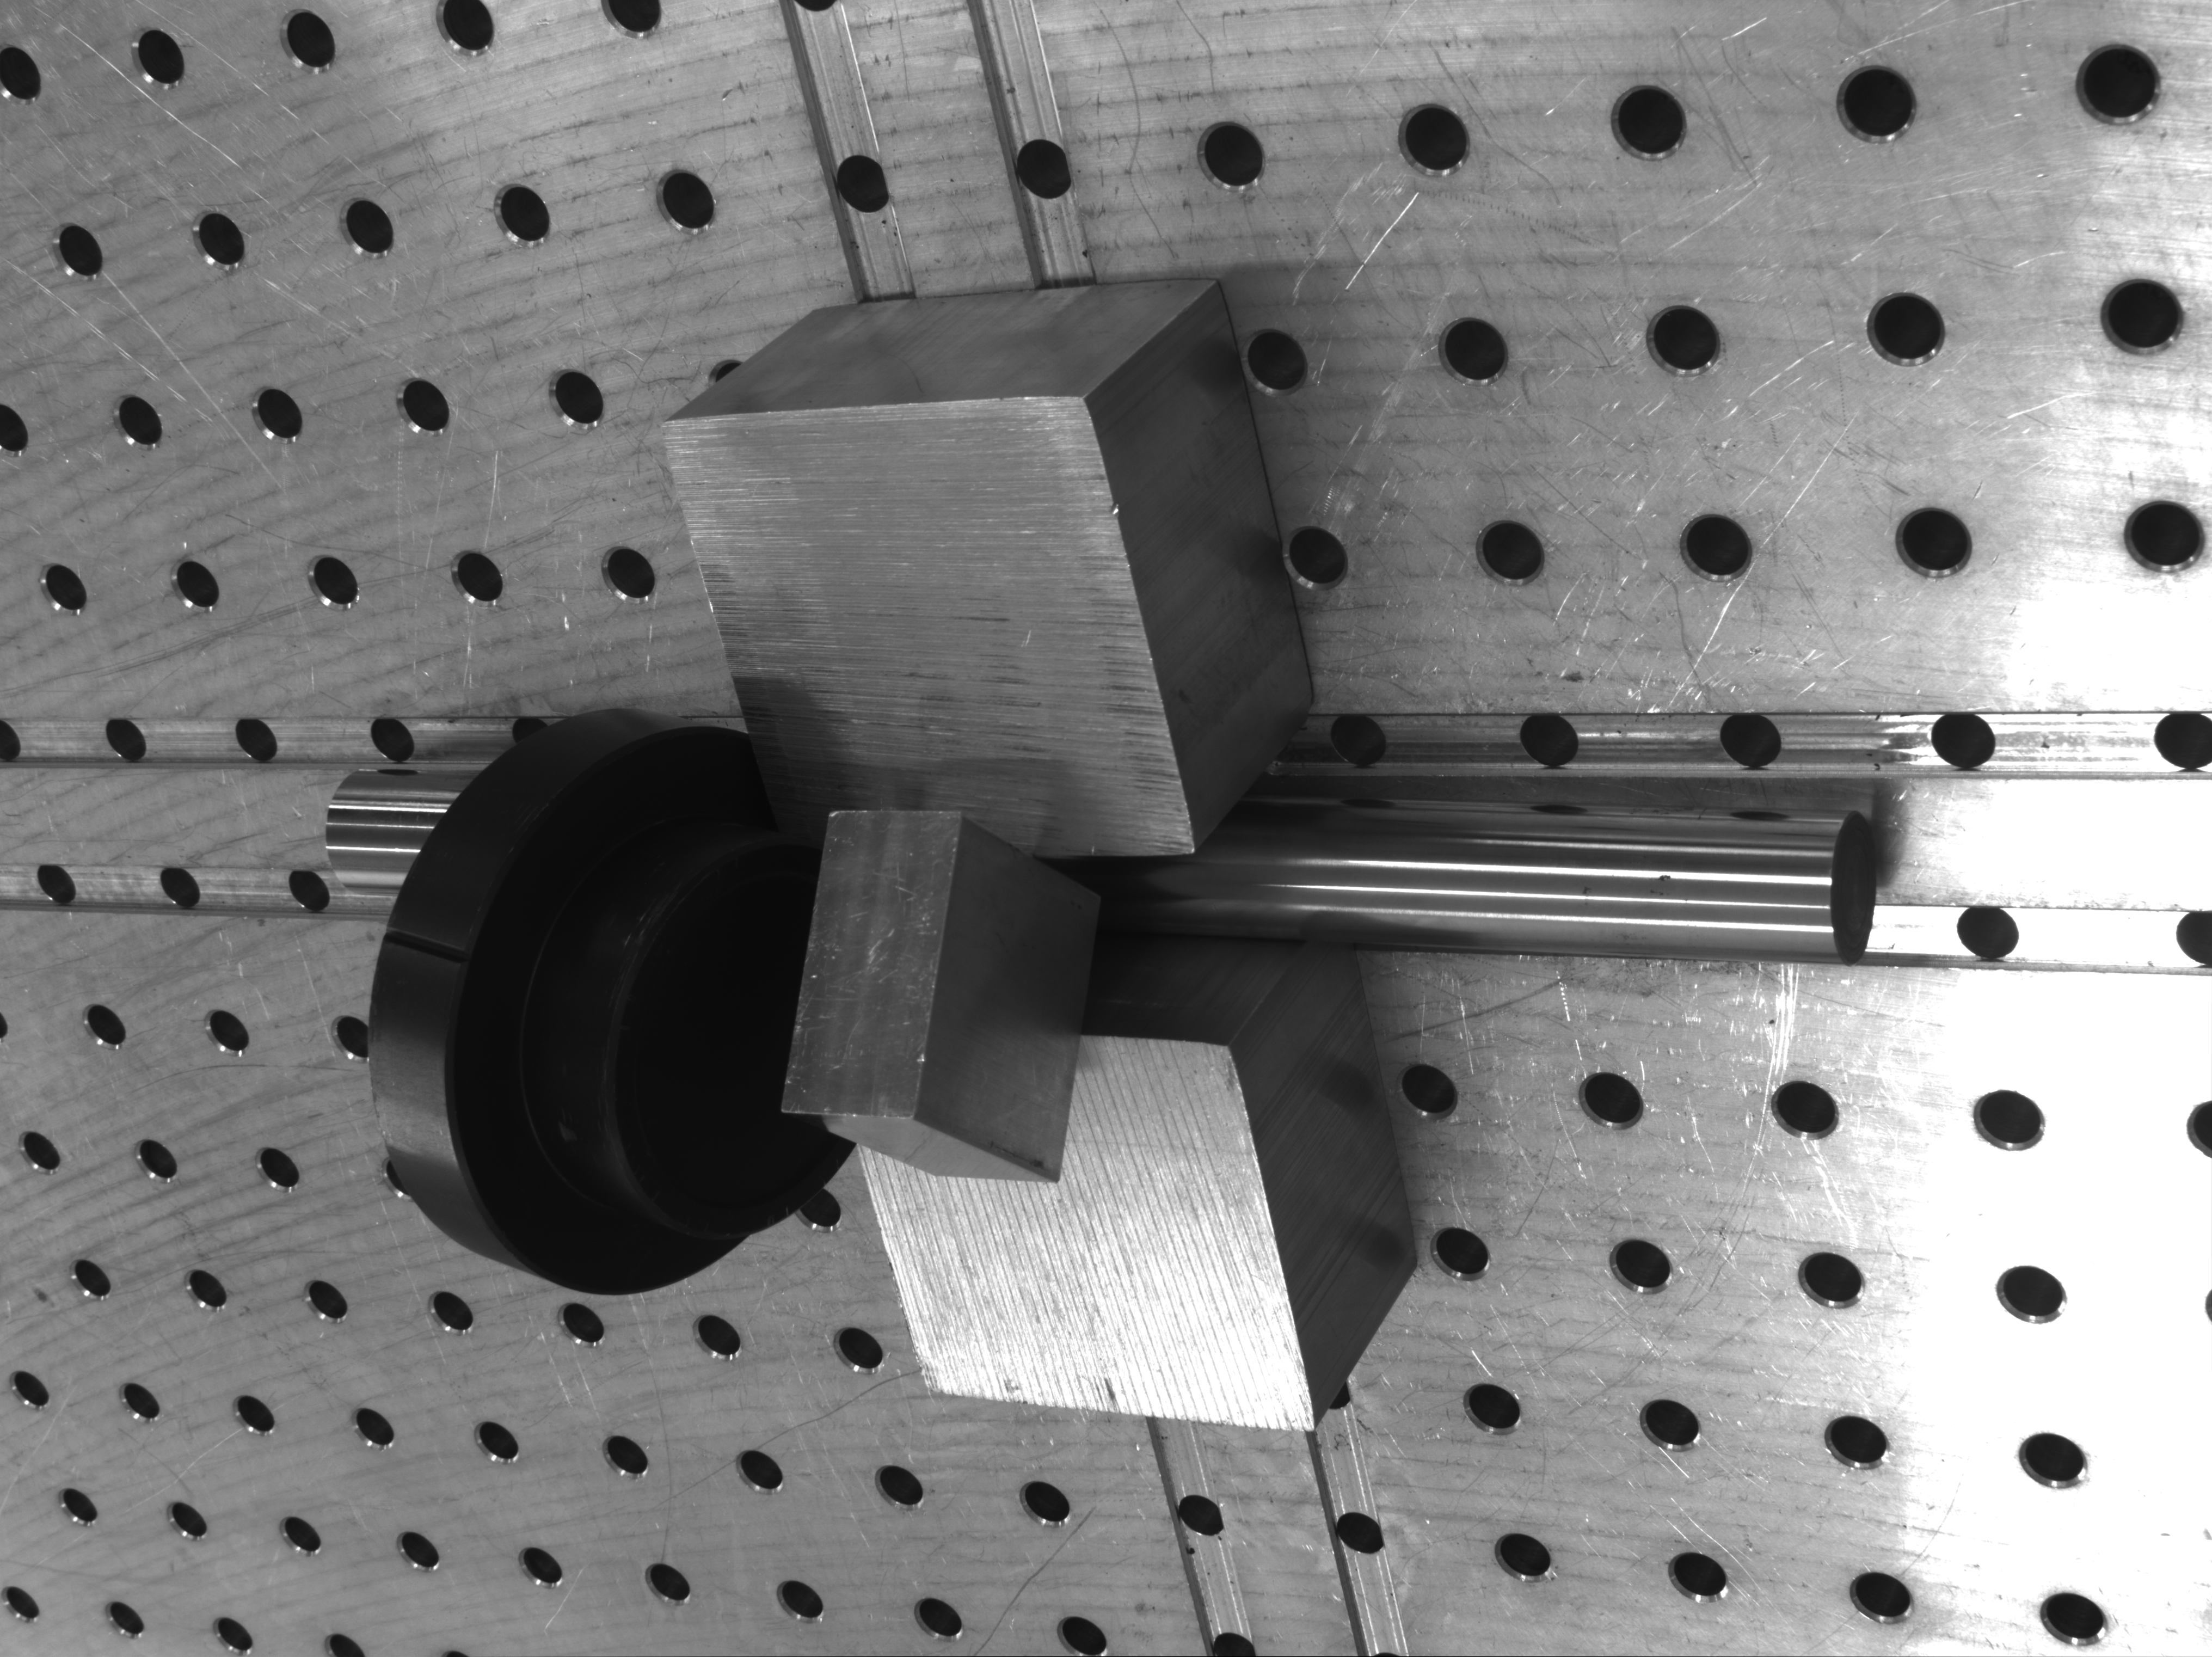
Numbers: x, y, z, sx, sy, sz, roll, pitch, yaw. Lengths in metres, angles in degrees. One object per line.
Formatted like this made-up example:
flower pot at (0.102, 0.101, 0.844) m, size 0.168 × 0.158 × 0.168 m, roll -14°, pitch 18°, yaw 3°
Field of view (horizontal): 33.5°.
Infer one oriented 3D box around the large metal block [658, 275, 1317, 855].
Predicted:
large metal block at (-0.018, -0.043, 0.613) m, size 0.080 × 0.050 × 0.080 m, roll 1°, pitch 119°, yaw 28°

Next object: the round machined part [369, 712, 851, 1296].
round machined part at (-0.073, 0.032, 0.620) m, size 0.042 × 0.098 × 0.098 m, roll 13°, pitch 125°, yaw 39°

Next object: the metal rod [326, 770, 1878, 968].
metal rod at (-0.013, 0.005, 0.656) m, size 0.299 × 0.025 × 0.025 m, roll 2°, pitch 119°, yaw 27°

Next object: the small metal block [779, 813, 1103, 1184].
small metal block at (-0.026, 0.028, 0.605) m, size 0.025 × 0.050 × 0.050 m, roll 1°, pitch 75°, yaw 28°

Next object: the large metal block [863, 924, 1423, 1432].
large metal block at (0.005, 0.058, 0.663) m, size 0.080 × 0.050 × 0.080 m, roll 1°, pitch 119°, yaw 28°
